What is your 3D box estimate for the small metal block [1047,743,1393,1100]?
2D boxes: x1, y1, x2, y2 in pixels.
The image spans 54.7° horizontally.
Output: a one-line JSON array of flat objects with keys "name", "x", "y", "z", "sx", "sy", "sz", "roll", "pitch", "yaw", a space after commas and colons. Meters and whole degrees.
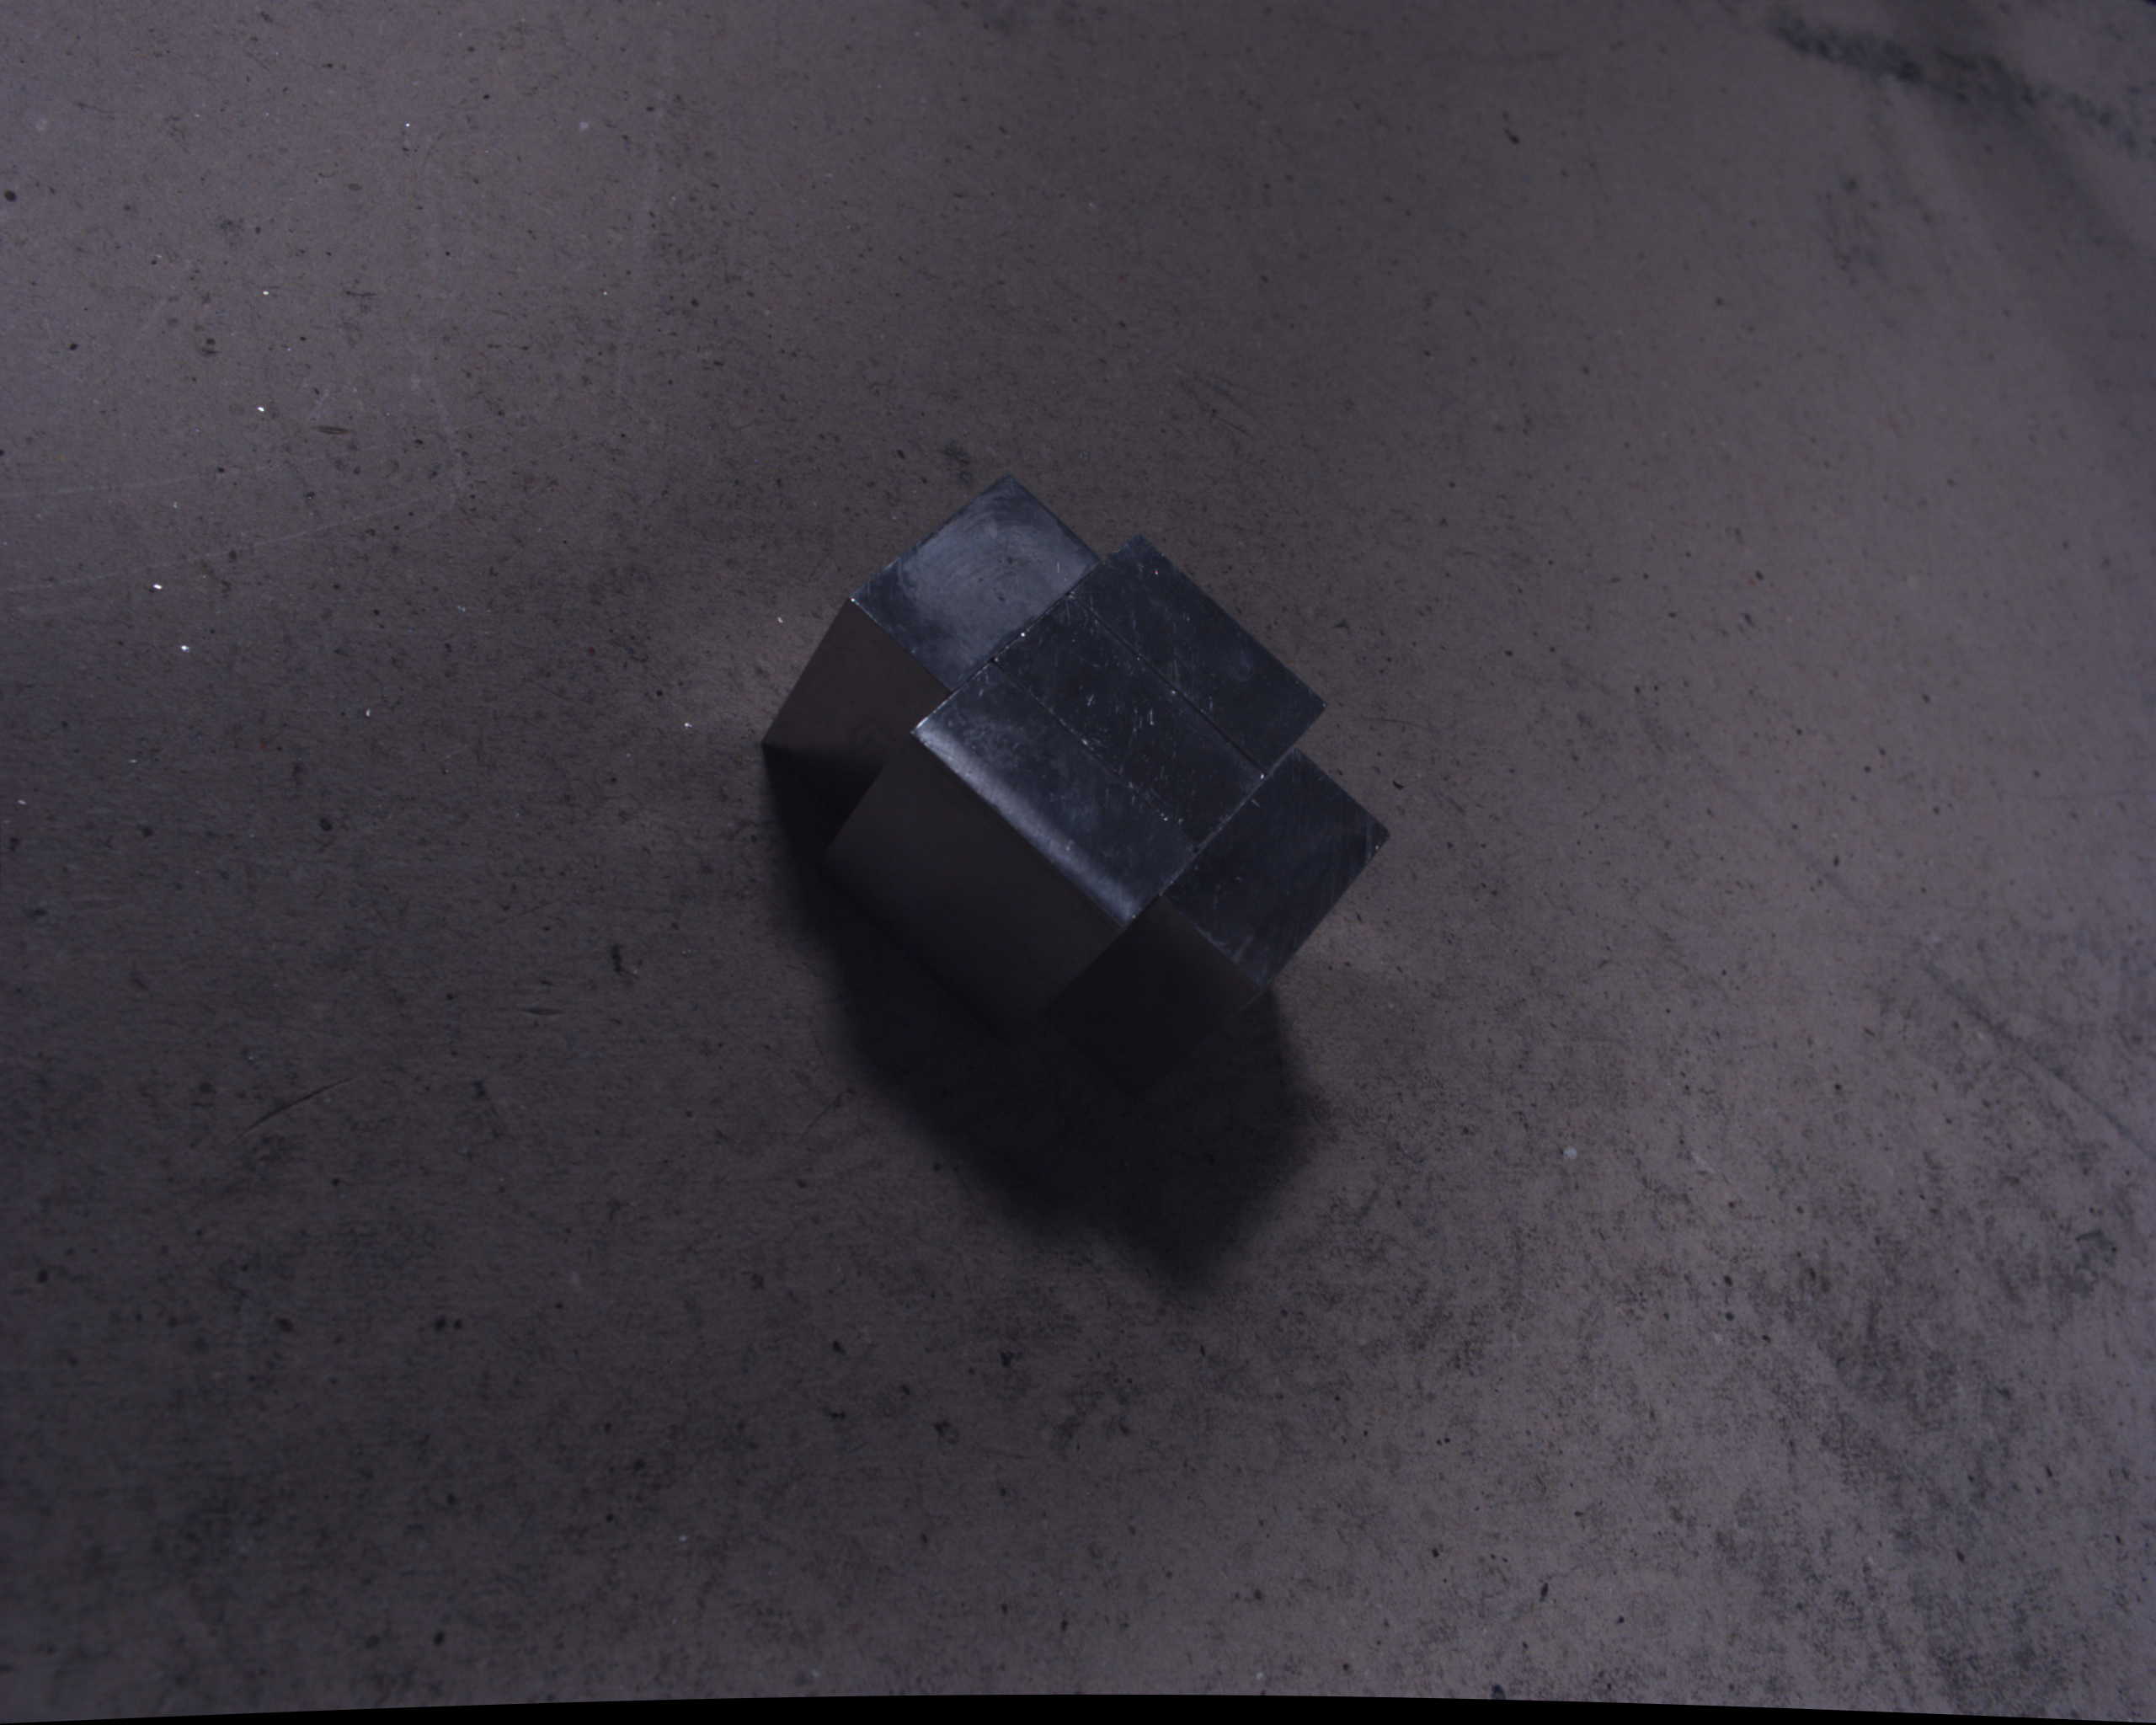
[{"name": "small metal block", "x": 0.026, "y": 0.011, "z": 0.397, "sx": 0.025, "sy": 0.050, "sz": 0.050, "roll": 43, "pitch": 51, "yaw": 1}]

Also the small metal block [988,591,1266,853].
[{"name": "small metal block", "x": -0.001, "y": -0.015, "z": 0.399, "sx": 0.050, "sy": 0.050, "sz": 0.025, "roll": 43, "pitch": 51, "yaw": 0}]

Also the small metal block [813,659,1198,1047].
[{"name": "small metal block", "x": -0.014, "y": -0.001, "z": 0.383, "sx": 0.050, "sy": 0.050, "sz": 0.025, "roll": 43, "pitch": 51, "yaw": 0}]

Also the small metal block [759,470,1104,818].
[{"name": "small metal block", "x": -0.028, "y": -0.041, "z": 0.399, "sx": 0.025, "sy": 0.050, "sz": 0.050, "roll": 43, "pitch": 51, "yaw": 1}]

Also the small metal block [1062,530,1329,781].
[{"name": "small metal block", "x": 0.013, "y": -0.029, "z": 0.415, "sx": 0.050, "sy": 0.050, "sz": 0.025, "roll": 42, "pitch": 51, "yaw": 0}]
